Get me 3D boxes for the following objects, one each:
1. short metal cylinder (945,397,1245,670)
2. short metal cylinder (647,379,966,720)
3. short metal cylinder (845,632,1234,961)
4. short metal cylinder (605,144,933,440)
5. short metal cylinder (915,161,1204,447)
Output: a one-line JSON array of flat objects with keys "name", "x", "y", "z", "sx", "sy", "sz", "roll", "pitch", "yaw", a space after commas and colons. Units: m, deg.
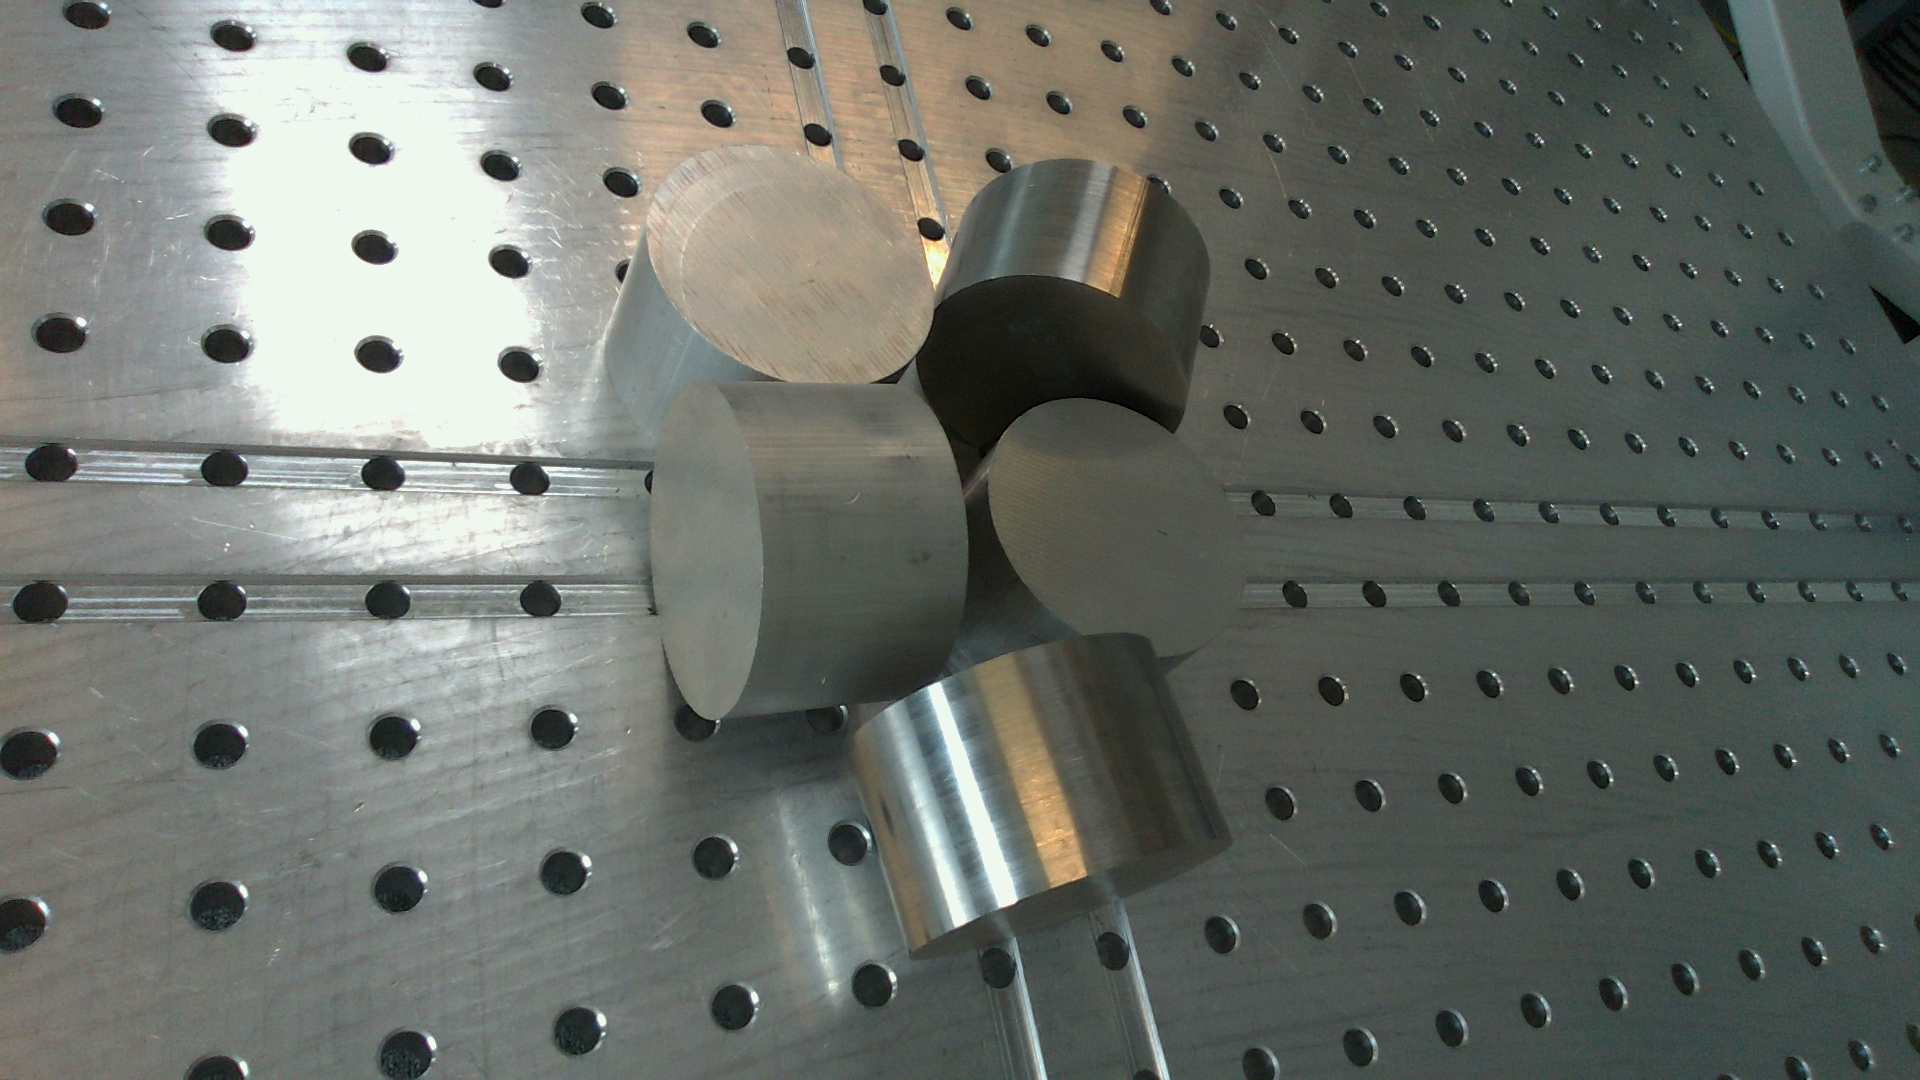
[{"name": "short metal cylinder", "x": 0.033, "y": 0.007, "z": 0.390, "sx": 0.080, "sy": 0.050, "sz": 0.080, "roll": 14, "pitch": 56, "yaw": -21}, {"name": "short metal cylinder", "x": -0.040, "y": 0.001, "z": 0.336, "sx": 0.050, "sy": 0.080, "sz": 0.080, "roll": -2, "pitch": 63, "yaw": -30}, {"name": "short metal cylinder", "x": 0.018, "y": 0.062, "z": 0.329, "sx": 0.080, "sy": 0.080, "sz": 0.050, "roll": -6, "pitch": 65, "yaw": -31}, {"name": "short metal cylinder", "x": -0.054, "y": -0.063, "z": 0.386, "sx": 0.080, "sy": 0.050, "sz": 0.080, "roll": 13, "pitch": 57, "yaw": -20}, {"name": "short metal cylinder", "x": 0.031, "y": -0.065, "z": 0.414, "sx": 0.080, "sy": 0.080, "sz": 0.050, "roll": 25, "pitch": 52, "yaw": -12}]
